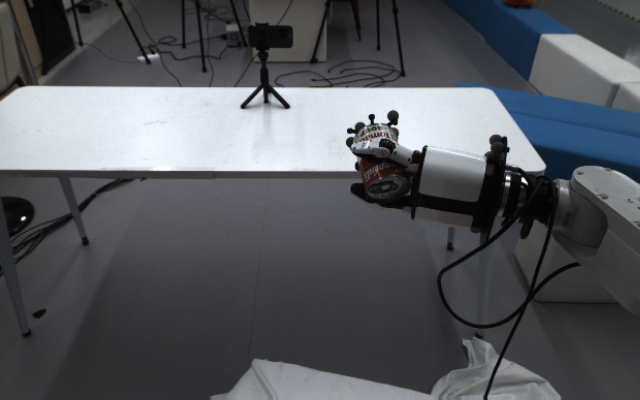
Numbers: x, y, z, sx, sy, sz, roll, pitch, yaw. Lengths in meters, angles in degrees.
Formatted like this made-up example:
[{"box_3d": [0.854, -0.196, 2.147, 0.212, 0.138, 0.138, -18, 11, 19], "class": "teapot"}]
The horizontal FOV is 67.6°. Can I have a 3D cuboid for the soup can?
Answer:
[{"box_3d": [0.092, -0.056, 0.722, 0.067, 0.067, 0.101, -5, 57, -10], "class": "soup can"}]
